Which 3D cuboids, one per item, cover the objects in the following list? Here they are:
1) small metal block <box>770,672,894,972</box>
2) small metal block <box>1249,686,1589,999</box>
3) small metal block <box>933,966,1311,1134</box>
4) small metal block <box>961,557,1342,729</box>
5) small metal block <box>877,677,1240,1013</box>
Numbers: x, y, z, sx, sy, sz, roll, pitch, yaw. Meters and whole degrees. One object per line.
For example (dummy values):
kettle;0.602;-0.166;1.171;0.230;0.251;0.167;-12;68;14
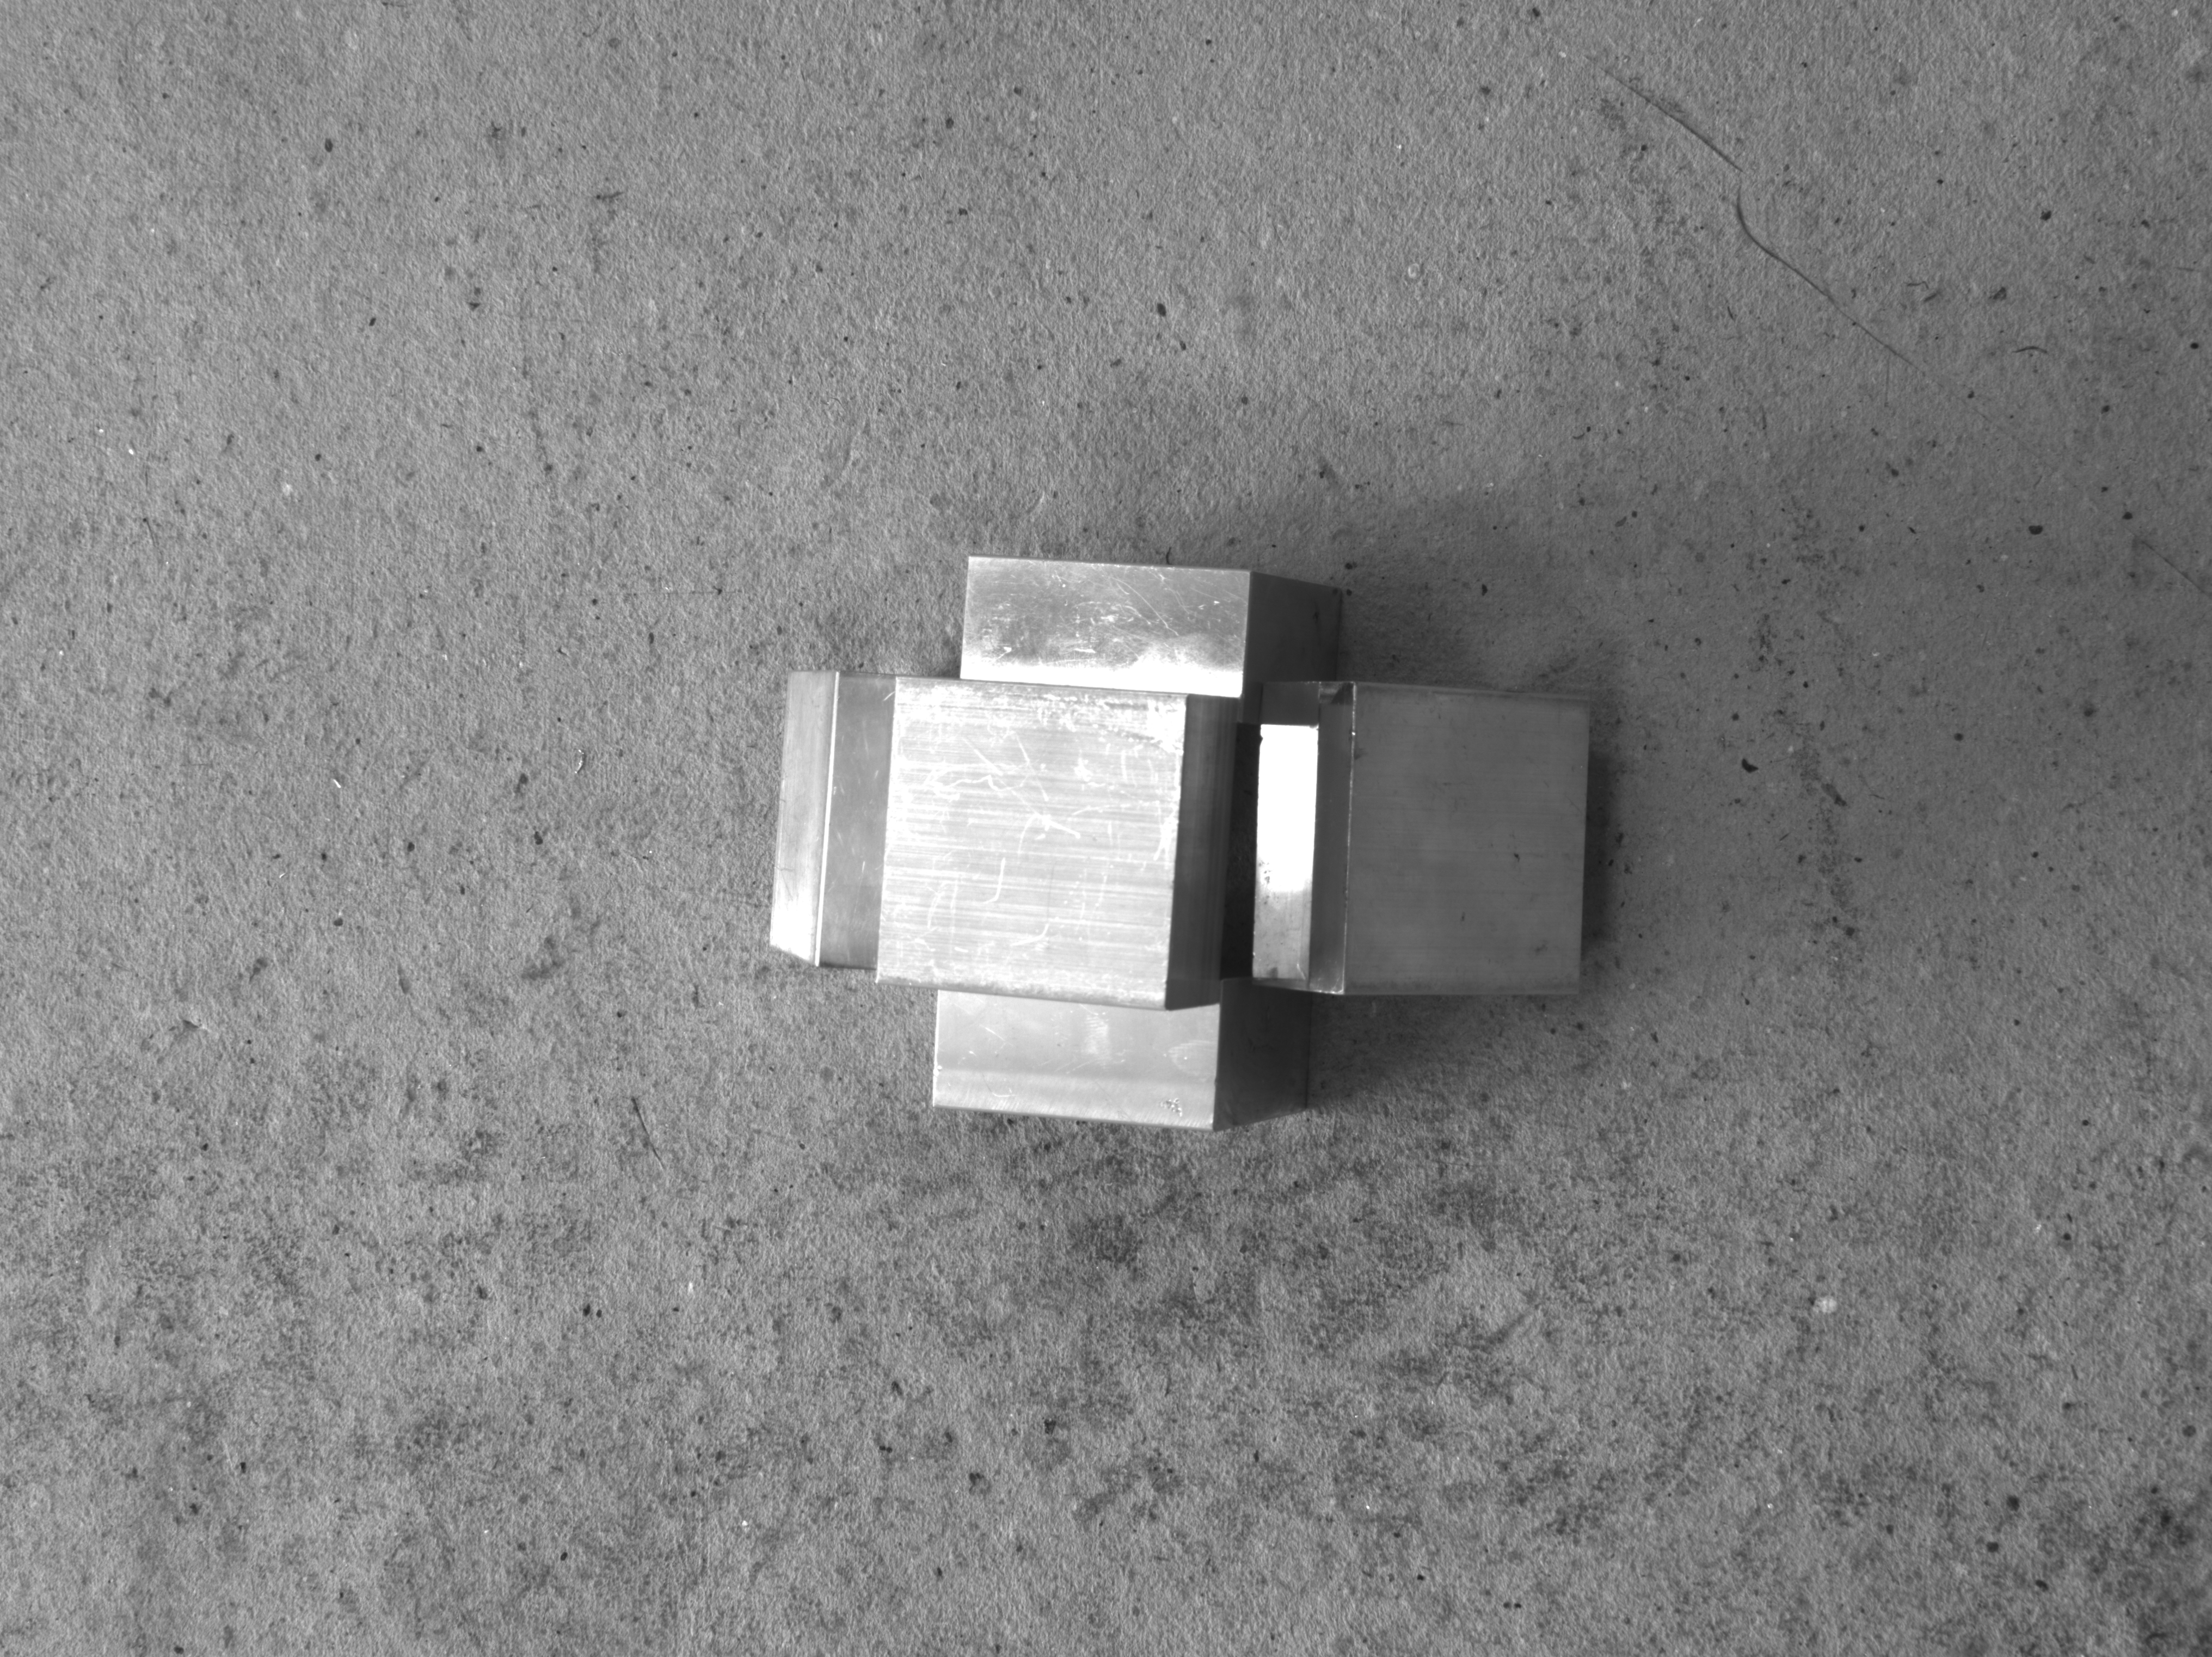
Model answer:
small metal block;-0.041;-0.002;0.646;0.025;0.050;0.050;4;92;-15
small metal block;0.052;0.002;0.612;0.025;0.050;0.050;3;91;56
small metal block;0.004;0.036;0.633;0.050;0.050;0.025;3;91;20
small metal block;0.008;-0.031;0.631;0.050;0.050;0.025;5;92;20
small metal block;-0.008;0.002;0.597;0.050;0.025;0.050;4;92;20
